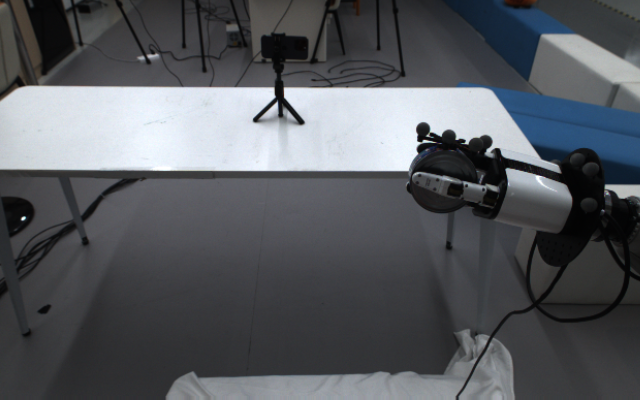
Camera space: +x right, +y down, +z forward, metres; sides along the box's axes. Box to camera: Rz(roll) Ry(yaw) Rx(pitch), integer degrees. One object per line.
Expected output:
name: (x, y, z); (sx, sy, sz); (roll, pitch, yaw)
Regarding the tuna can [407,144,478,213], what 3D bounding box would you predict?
tuna can: (0.161, -0.031, 0.634); (0.085, 0.085, 0.034); (5, 19, 4)
